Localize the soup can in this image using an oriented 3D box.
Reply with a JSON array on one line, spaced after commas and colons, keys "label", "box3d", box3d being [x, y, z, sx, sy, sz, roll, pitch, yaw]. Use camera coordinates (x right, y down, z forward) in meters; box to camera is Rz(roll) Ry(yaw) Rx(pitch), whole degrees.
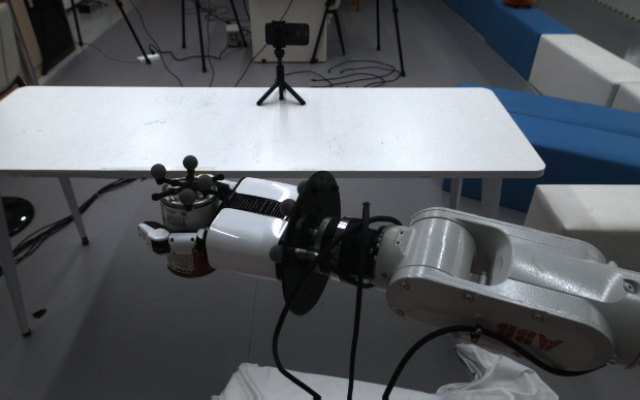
[{"label": "soup can", "box3d": [-0.152, 0.034, 0.579, 0.067, 0.101, 0.067, 4, 30, -2]}]
